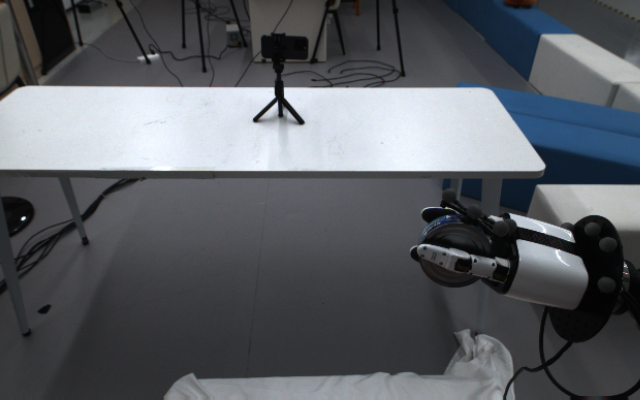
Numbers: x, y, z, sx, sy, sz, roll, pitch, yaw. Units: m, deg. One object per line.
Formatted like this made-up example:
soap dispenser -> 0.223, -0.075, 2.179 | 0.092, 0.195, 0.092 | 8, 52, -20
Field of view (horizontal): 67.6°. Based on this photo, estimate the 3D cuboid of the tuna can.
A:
tuna can -> 0.167, 0.060, 0.596 | 0.085, 0.085, 0.034 | 7, 16, 7
